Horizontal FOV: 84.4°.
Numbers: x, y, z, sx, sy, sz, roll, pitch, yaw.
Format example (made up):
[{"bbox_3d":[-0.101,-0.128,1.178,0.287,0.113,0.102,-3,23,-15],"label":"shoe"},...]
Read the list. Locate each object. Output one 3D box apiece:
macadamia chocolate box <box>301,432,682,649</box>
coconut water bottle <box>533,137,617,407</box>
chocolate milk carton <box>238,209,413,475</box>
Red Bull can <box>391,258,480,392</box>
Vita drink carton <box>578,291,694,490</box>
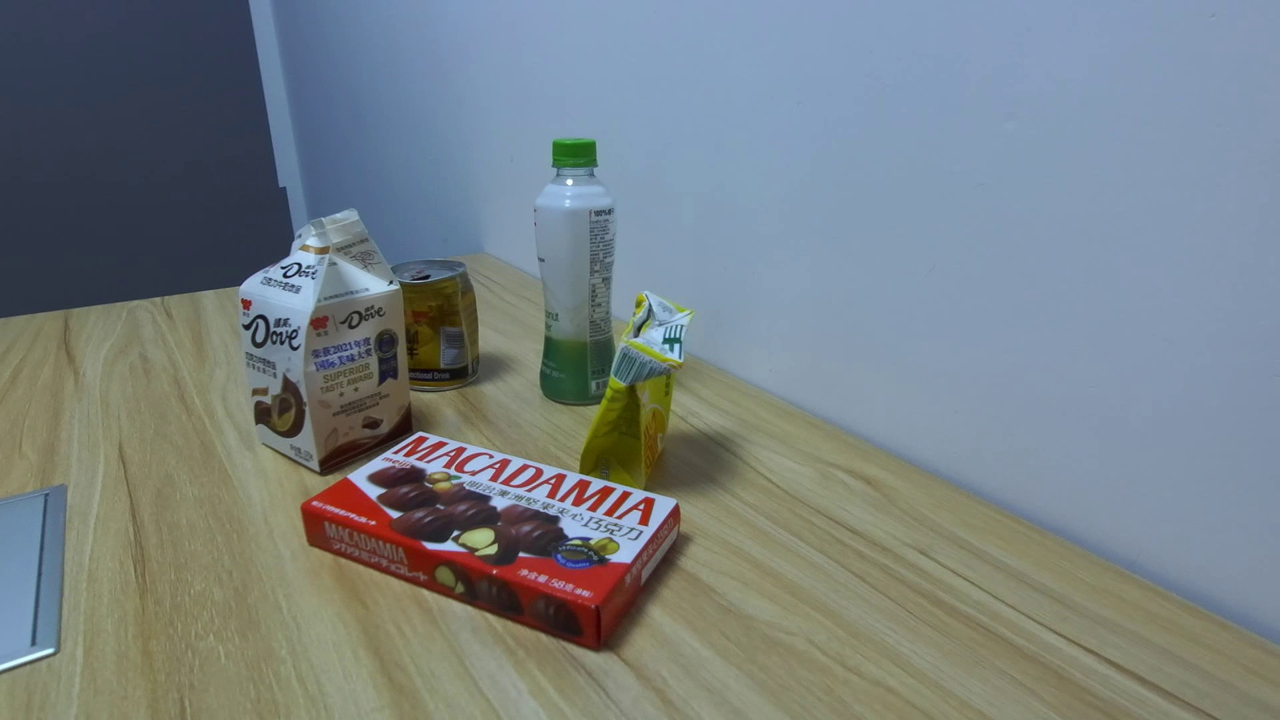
[{"bbox_3d":[-0.078,0.087,0.377,0.177,0.027,0.096,11,24,23],"label":"macadamia chocolate box"},{"bbox_3d":[-0.046,-0.063,0.523,0.063,0.188,0.063,1,21,0],"label":"coconut water bottle"},{"bbox_3d":[-0.203,-0.018,0.453,0.076,0.155,0.074,16,25,32],"label":"chocolate milk carton"},{"bbox_3d":[-0.165,-0.030,0.567,0.072,0.092,0.072,1,24,0],"label":"Red Bull can"},{"bbox_3d":[0.002,0.021,0.430,0.042,0.108,0.087,19,29,7],"label":"Vita drink carton"}]
